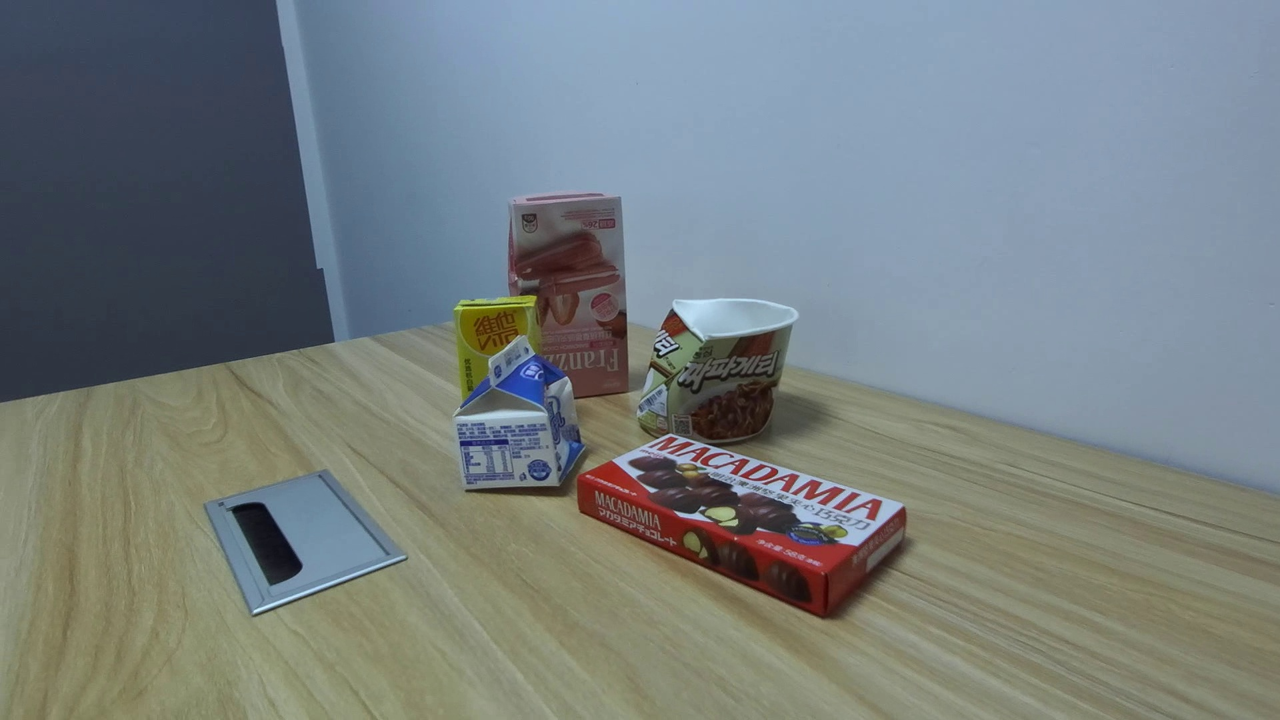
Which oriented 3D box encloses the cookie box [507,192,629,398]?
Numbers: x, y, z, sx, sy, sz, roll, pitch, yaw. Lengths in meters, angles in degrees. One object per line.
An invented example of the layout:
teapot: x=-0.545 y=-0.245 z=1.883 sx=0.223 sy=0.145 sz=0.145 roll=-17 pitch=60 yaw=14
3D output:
cookie box: x=-0.067 y=-0.058 z=0.652 sx=0.105 sy=0.187 sz=0.048 roll=-6 pitch=19 yaw=-11

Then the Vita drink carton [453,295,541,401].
Vita drink carton: x=-0.115 y=0.005 z=0.588 sx=0.067 sy=0.109 sz=0.043 roll=-4 pitch=14 yaw=-5

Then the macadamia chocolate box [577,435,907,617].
macadamia chocolate box: x=0.056 y=0.090 z=0.427 sx=0.177 sy=0.027 sz=0.096 roll=13 pitch=21 yaw=41

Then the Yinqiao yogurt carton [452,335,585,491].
Yinqiao yogurt carton: x=-0.086 y=0.036 z=0.505 sx=0.071 sy=0.094 sz=0.077 roll=-4 pitch=15 yaw=14
